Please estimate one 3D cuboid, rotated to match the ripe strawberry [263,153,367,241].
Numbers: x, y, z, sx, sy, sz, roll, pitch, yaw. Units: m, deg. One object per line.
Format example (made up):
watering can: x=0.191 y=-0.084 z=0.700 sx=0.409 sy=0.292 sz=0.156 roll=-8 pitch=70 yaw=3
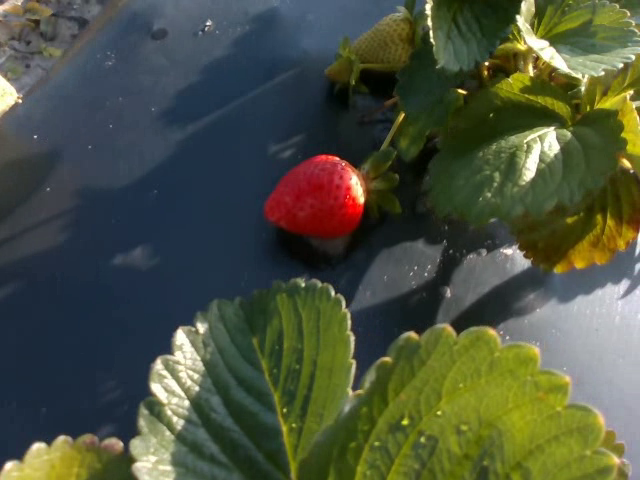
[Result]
ripe strawberry: x=-0.003 y=-0.012 z=0.215 sx=0.044 sy=0.033 sz=0.030 roll=-15 pitch=19 yaw=-13
